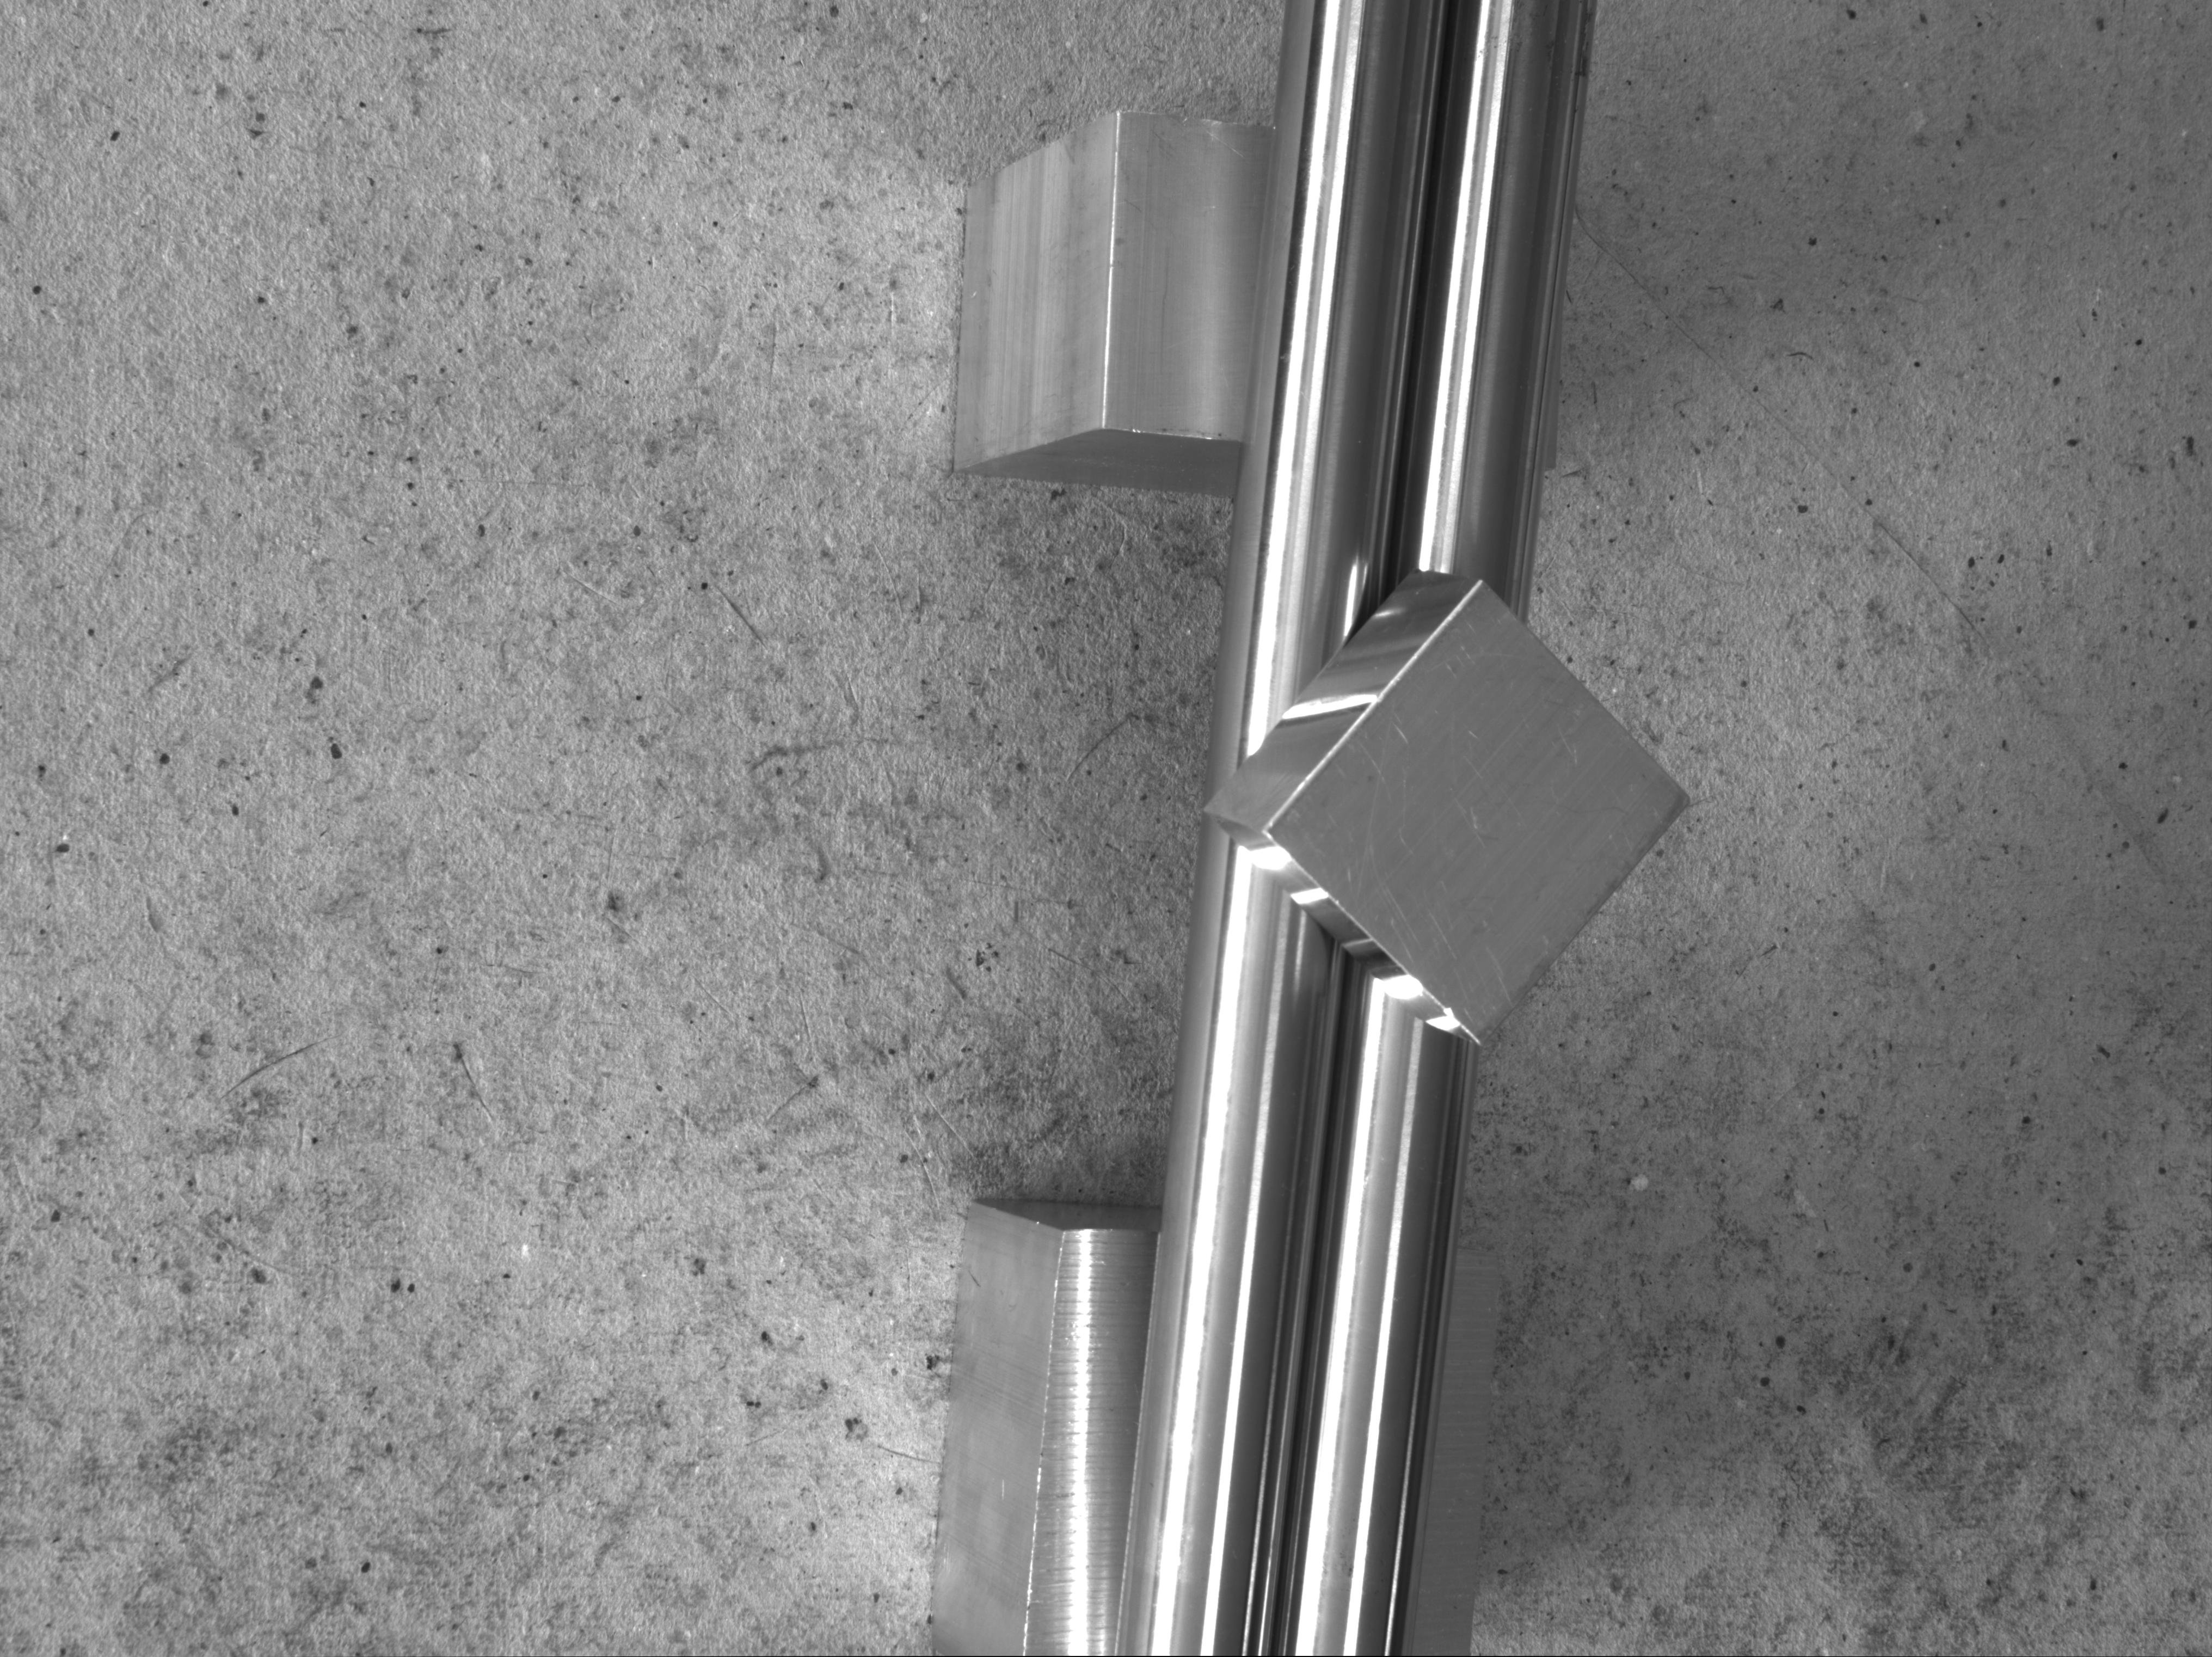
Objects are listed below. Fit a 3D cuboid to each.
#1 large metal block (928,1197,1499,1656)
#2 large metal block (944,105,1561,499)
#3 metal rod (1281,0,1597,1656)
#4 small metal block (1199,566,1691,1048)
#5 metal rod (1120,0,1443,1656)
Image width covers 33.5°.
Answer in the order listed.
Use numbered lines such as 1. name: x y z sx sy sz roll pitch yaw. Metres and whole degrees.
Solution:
1. large metal block: 0.018 0.108 0.636 0.080 0.050 0.080 5 88 -20
2. large metal block: 0.024 -0.085 0.623 0.080 0.080 0.050 4 89 -20
3. metal rod: 0.052 -0.003 0.585 0.025 0.025 0.300 3 96 -20
4. small metal block: 0.052 -0.004 0.559 0.050 0.025 0.050 44 82 -20
5. metal rod: 0.028 -0.005 0.576 0.025 0.025 0.300 3 96 -20
